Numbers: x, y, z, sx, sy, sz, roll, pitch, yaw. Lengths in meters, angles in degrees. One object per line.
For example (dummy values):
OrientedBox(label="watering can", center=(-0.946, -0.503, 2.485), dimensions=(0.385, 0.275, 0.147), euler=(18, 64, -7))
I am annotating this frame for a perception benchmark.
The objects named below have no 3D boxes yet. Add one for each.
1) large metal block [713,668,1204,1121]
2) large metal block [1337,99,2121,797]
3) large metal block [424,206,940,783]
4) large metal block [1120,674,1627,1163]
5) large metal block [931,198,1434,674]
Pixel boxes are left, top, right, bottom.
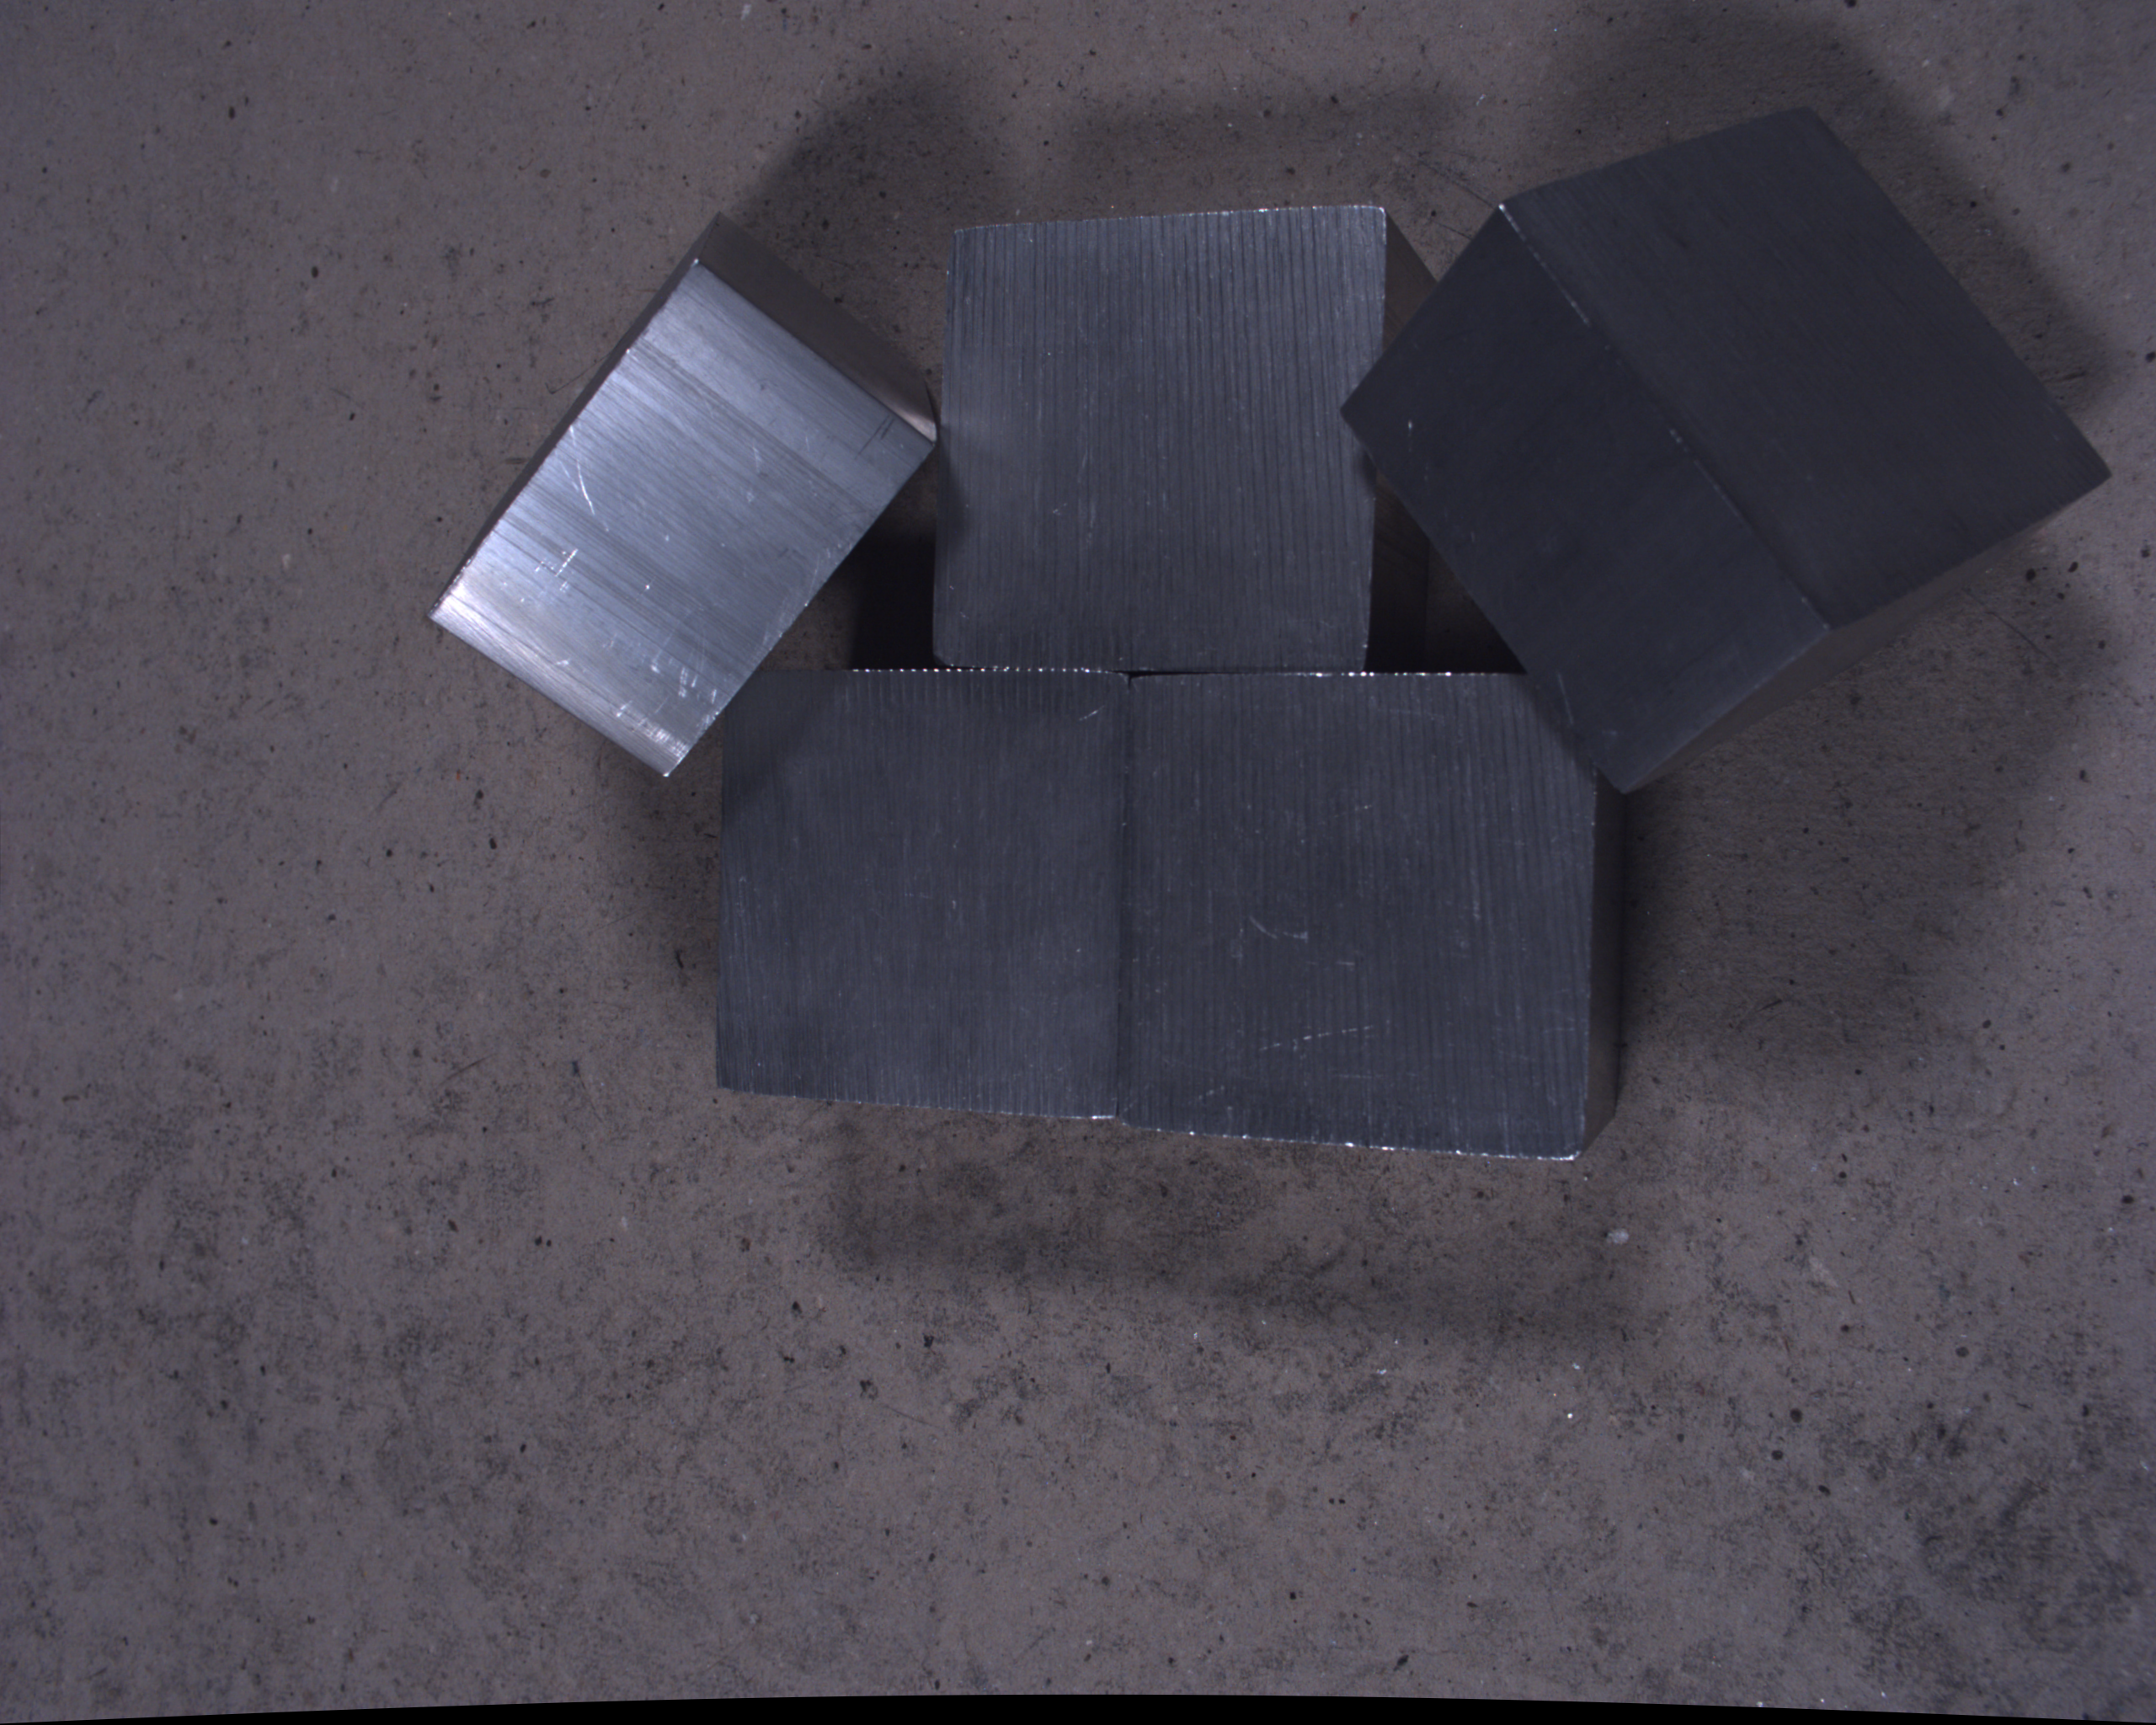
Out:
OrientedBox(label="large metal block", center=(-0.022, 0.004, 0.403), dimensions=(0.080, 0.050, 0.079), euler=(2, 91, 19))
OrientedBox(label="large metal block", center=(0.104, -0.069, 0.338), dimensions=(0.080, 0.081, 0.050), euler=(56, 147, 11))
OrientedBox(label="large metal block", center=(-0.073, -0.073, 0.398), dimensions=(0.050, 0.080, 0.080), euler=(36, 104, -19))
OrientedBox(label="large metal block", center=(0.055, 0.008, 0.375), dimensions=(0.080, 0.050, 0.079), euler=(2, 91, 19))
OrientedBox(label="large metal block", center=(0.021, -0.075, 0.389), dimensions=(0.080, 0.050, 0.079), euler=(3, 91, 19))
